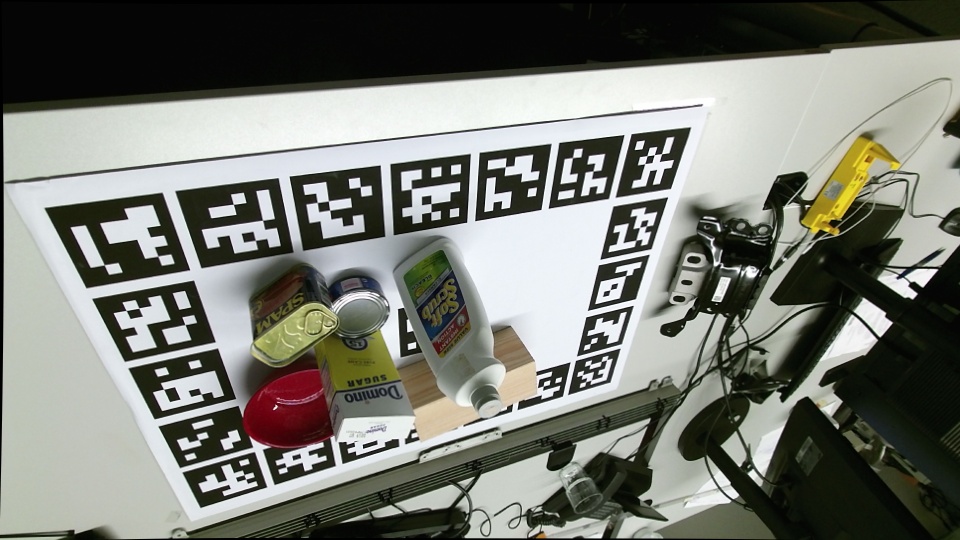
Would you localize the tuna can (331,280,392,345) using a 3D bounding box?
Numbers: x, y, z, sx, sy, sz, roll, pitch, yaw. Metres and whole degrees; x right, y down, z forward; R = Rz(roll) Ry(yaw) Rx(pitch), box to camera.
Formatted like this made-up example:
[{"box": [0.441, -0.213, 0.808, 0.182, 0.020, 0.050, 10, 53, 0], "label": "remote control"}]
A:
[{"box": [-0.157, 0.057, 0.715, 0.086, 0.033, 0.086, -14, 127, -19], "label": "tuna can"}]

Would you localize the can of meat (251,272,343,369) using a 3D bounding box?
[{"box": [-0.227, 0.062, 0.658, 0.102, 0.083, 0.058, -34, 136, 1], "label": "can of meat"}]

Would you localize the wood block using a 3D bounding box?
[{"box": [-0.014, 0.192, 0.865, 0.207, 0.089, 0.091, -19, 127, -13], "label": "wood block"}]

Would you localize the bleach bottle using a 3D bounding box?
[{"box": [-0.022, 0.077, 0.659, 0.103, 0.250, 0.068, -32, 134, -3], "label": "bleach bottle"}]

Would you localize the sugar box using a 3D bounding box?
[{"box": [-0.154, 0.150, 0.693, 0.093, 0.176, 0.045, 6, 119, -36], "label": "sugar box"}]

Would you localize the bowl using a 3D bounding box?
[{"box": [-0.256, 0.196, 0.760, 0.162, 0.055, 0.162, -17, 132, -20], "label": "bowl"}]
